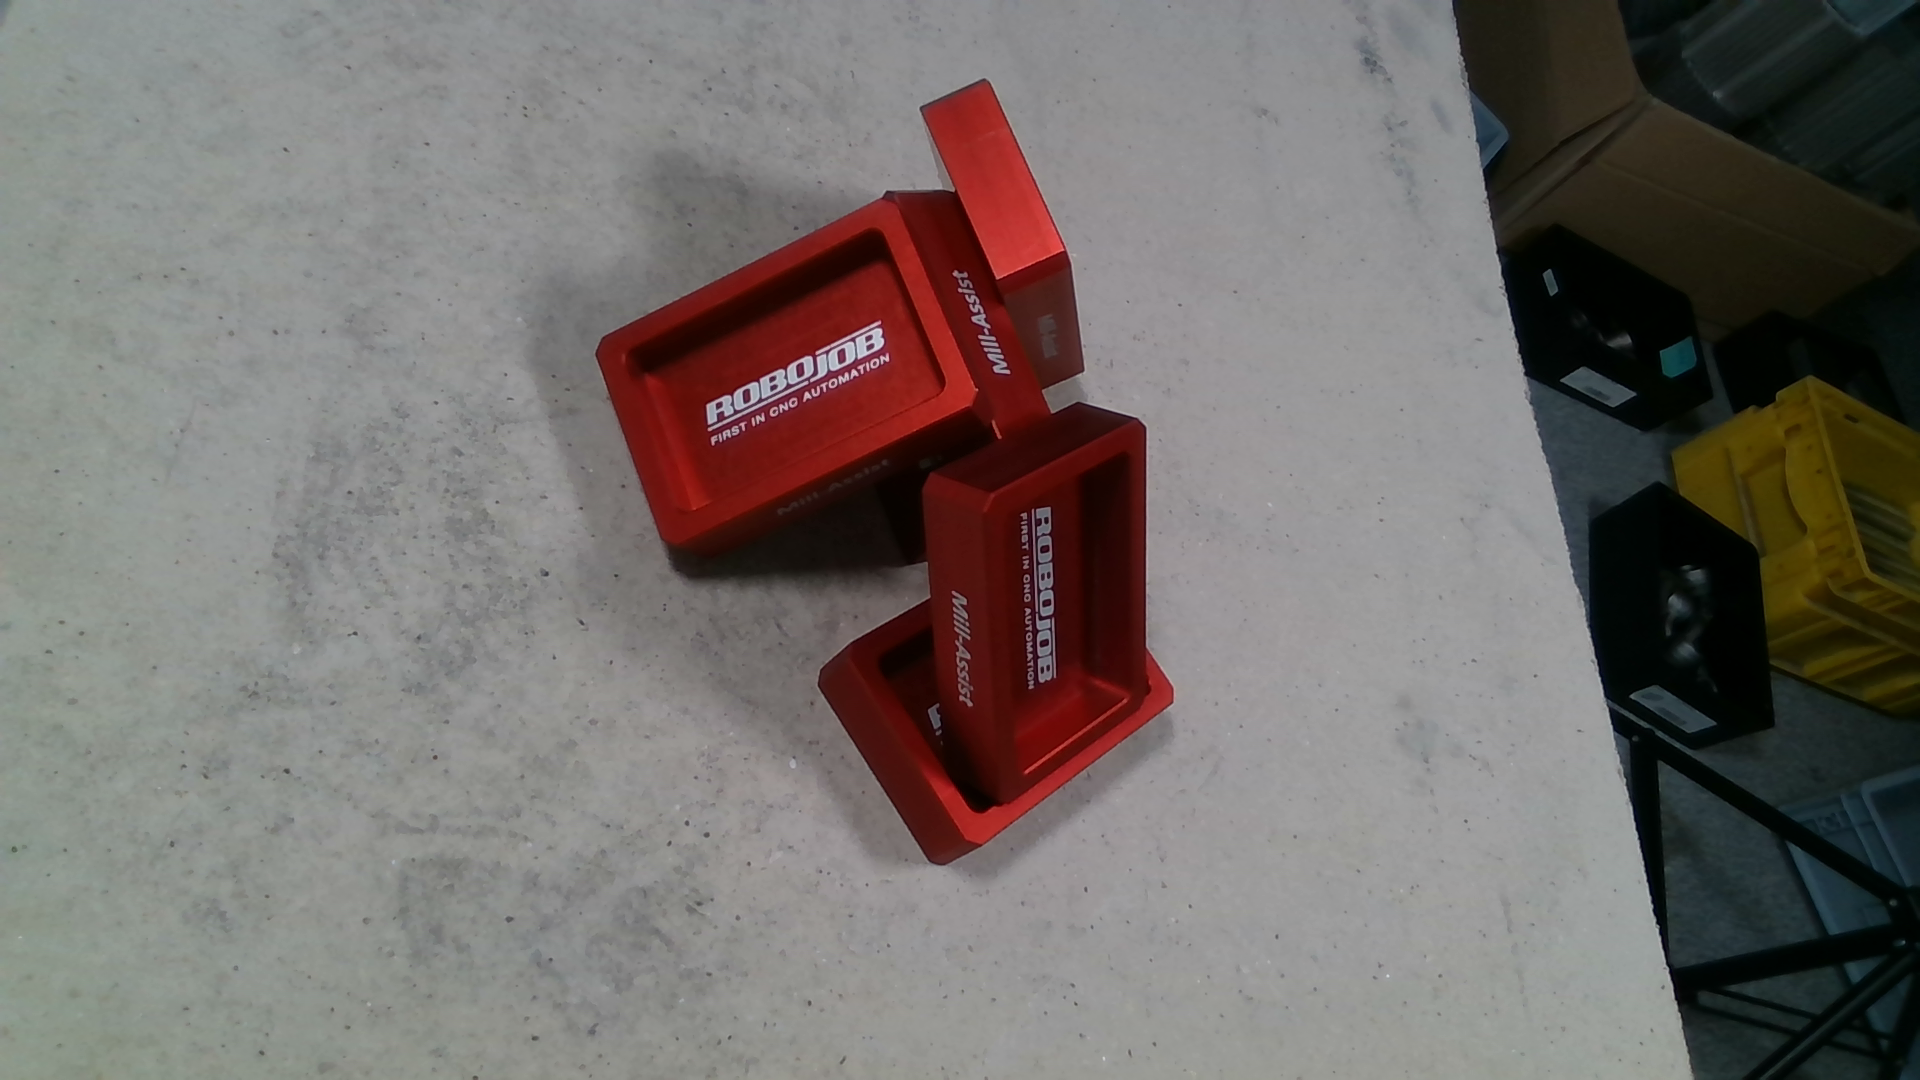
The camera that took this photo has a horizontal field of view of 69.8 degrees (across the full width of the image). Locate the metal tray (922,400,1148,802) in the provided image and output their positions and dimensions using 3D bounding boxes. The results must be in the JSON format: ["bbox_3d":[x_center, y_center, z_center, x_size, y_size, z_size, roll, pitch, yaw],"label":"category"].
[{"bbox_3d":[0.032,0.023,0.521,0.090,0.030,0.130,-28,126,-38],"label":"metal tray"}]

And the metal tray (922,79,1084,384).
[{"bbox_3d":[0.022,-0.129,0.607,0.030,0.130,0.090,-23,75,2],"label":"metal tray"}]

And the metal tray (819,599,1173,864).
[{"bbox_3d":[0.018,0.060,0.562,0.130,0.030,0.090,-28,82,-39],"label":"metal tray"}]

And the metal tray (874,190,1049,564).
[{"bbox_3d":[-0.013,-0.067,0.572,0.030,0.090,0.130,-12,72,-36],"label":"metal tray"}]

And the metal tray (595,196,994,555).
[{"bbox_3d":[-0.064,-0.061,0.523,0.130,0.030,0.090,-25,75,8],"label":"metal tray"}]
